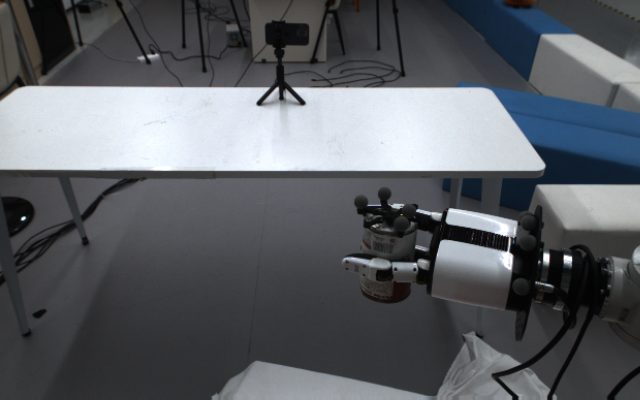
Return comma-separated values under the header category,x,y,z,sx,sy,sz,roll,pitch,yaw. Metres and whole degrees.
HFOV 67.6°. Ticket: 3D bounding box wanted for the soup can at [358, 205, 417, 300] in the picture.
category,x,y,z,sx,sy,sz,roll,pitch,yaw
soup can,0.088,0.069,0.611,0.067,0.101,0.067,1,26,0
